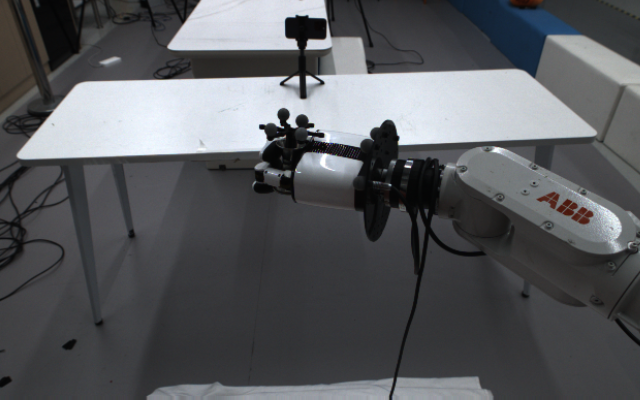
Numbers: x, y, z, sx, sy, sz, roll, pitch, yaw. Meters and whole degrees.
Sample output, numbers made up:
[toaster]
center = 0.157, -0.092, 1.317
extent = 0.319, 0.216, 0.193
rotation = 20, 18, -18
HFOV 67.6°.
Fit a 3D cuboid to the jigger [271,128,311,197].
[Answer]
[jigger]
center = -0.041, -0.046, 0.670
extent = 0.043, 0.071, 0.043
rotation = 6, 26, -3
